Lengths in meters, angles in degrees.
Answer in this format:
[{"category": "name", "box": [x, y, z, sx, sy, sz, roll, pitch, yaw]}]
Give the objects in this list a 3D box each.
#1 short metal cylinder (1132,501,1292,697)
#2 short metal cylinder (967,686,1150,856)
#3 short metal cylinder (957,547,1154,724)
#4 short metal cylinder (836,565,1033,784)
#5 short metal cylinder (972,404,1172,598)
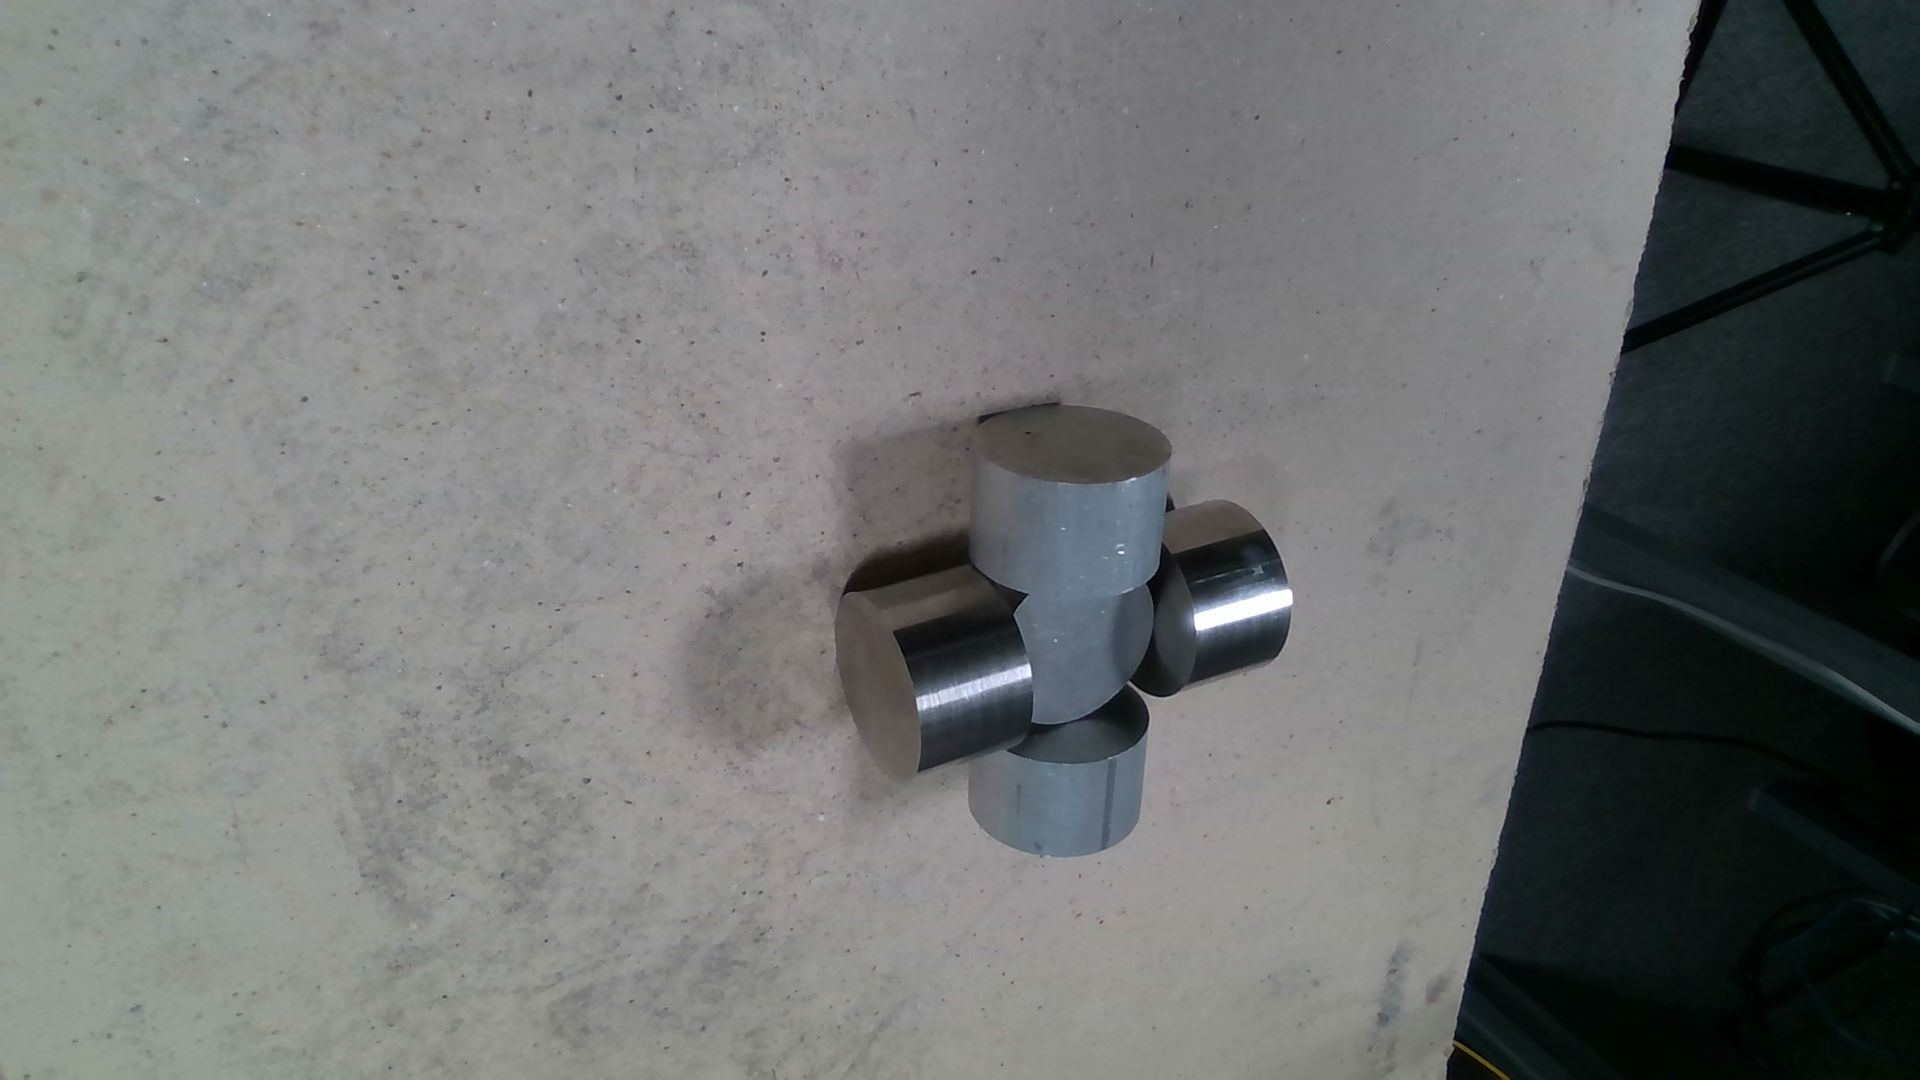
[{"category": "short metal cylinder", "box": [0.104, 0.026, 0.622, 0.050, 0.080, 0.080, -13, 121, -25]}, {"category": "short metal cylinder", "box": [0.044, 0.098, 0.625, 0.080, 0.080, 0.050, -13, 120, -26]}, {"category": "short metal cylinder", "box": [0.038, 0.034, 0.607, 0.080, 0.050, 0.080, -14, 122, -25]}, {"category": "short metal cylinder", "box": [-0.012, 0.054, 0.567, 0.050, 0.080, 0.080, -15, 122, -26]}, {"category": "short metal cylinder", "box": [0.044, -0.018, 0.564, 0.080, 0.080, 0.050, -13, 120, -26]}]
